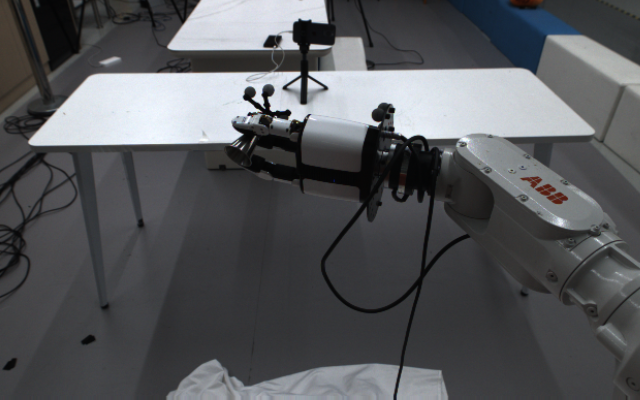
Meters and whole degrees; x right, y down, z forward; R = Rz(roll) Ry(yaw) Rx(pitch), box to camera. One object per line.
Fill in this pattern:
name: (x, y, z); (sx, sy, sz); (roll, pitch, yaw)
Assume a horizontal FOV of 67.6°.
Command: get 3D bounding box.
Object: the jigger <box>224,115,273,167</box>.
jigger: (-0.101, -0.090, 0.685); (0.043, 0.043, 0.071); (19, 61, 23)
